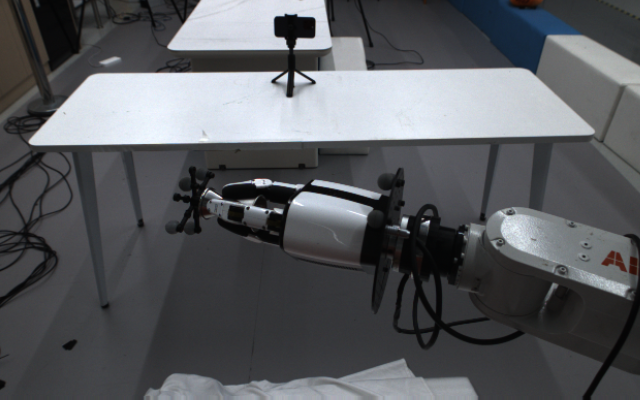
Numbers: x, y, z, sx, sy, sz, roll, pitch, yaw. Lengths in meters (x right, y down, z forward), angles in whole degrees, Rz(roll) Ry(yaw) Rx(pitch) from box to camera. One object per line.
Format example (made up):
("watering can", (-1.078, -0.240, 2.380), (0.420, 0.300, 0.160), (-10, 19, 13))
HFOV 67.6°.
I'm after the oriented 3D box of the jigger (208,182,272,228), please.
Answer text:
("jigger", (-0.099, 0.005, 0.568), (0.071, 0.043, 0.043), (10, 35, 16))
